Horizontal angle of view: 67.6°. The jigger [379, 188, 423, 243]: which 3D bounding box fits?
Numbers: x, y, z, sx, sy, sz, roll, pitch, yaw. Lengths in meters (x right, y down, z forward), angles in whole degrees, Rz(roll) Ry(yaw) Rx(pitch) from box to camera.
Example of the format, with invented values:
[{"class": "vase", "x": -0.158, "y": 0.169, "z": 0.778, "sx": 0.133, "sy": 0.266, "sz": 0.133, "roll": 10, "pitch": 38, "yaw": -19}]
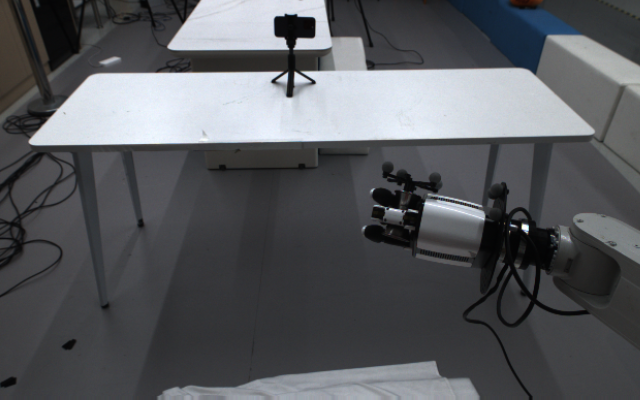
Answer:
[{"class": "jigger", "x": 0.122, "y": 0.022, "z": 0.709, "sx": 0.043, "sy": 0.071, "sz": 0.043, "roll": 16, "pitch": -7, "yaw": 2}]
